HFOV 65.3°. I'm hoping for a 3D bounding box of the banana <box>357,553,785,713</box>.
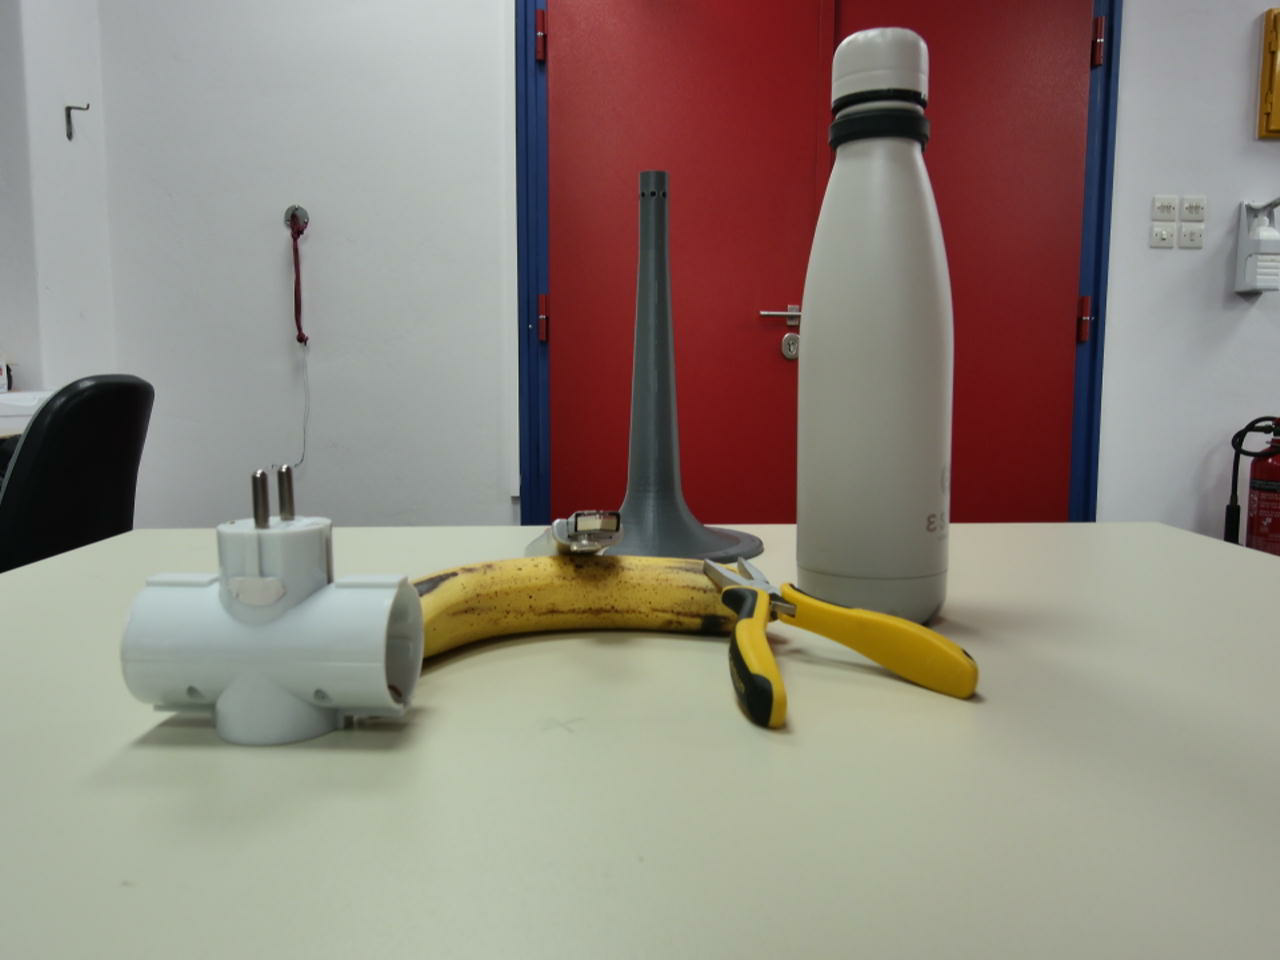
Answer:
[{"bbox_3d":[-0.037,0.057,0.442,0.186,0.038,0.097,-3,5,-29],"label":"banana"}]
